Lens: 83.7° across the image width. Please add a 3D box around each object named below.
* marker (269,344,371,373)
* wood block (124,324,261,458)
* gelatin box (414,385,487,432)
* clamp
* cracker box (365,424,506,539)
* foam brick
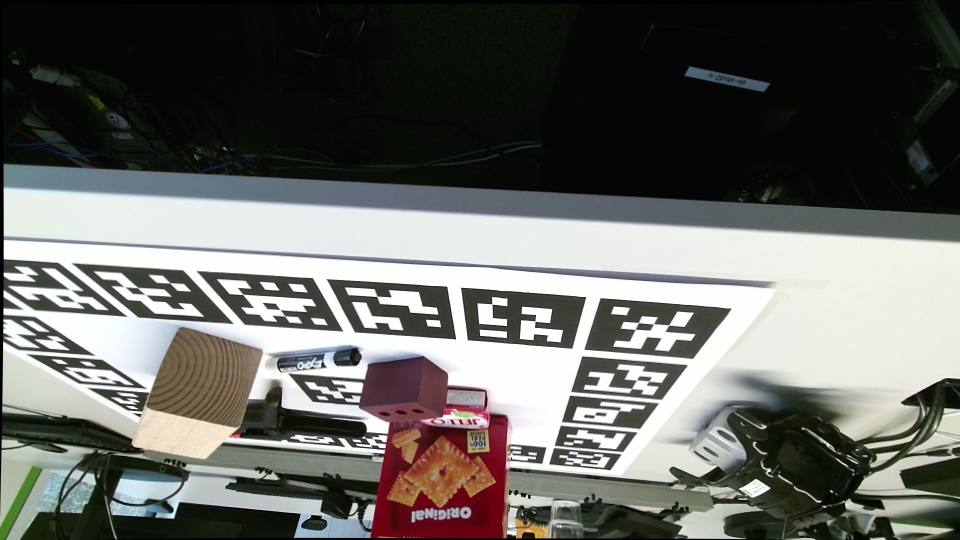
[{"bbox_3d":[-0.170,0.094,0.568,0.121,0.019,0.020,-10,139,20],"label":"marker"},{"bbox_3d":[-0.333,0.150,0.613,0.090,0.090,0.206,23,143,-26],"label":"wood block"},{"bbox_3d":[-0.037,0.169,0.649,0.090,0.030,0.073,2,142,5],"label":"gelatin box"},{"bbox_3d":[-0.289,0.224,0.745,0.203,0.036,0.166,-18,137,28],"label":"clamp"},{"bbox_3d":[-0.056,0.307,0.672,0.165,0.212,0.072,2,144,8],"label":"cracker box"},{"bbox_3d":[-0.080,0.129,0.578,0.078,0.051,0.053,-13,138,23],"label":"foam brick"}]
